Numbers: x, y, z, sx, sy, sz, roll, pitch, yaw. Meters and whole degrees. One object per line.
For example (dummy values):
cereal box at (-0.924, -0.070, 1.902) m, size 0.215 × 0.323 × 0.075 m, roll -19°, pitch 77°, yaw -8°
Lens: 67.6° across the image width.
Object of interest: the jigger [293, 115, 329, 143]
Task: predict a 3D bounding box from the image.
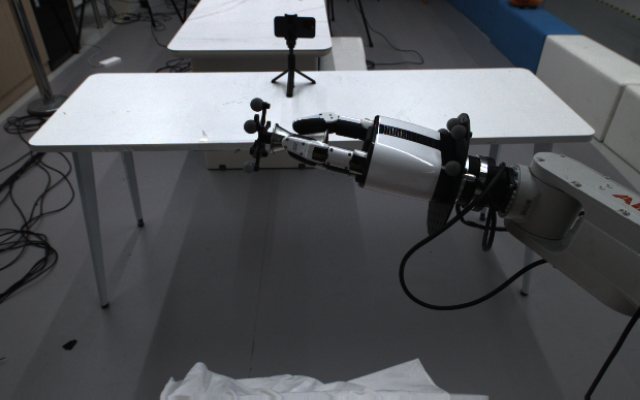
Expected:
jigger at (-0.019, -0.076, 0.620) m, size 0.071 × 0.043 × 0.043 m, roll 9°, pitch 35°, yaw 4°
